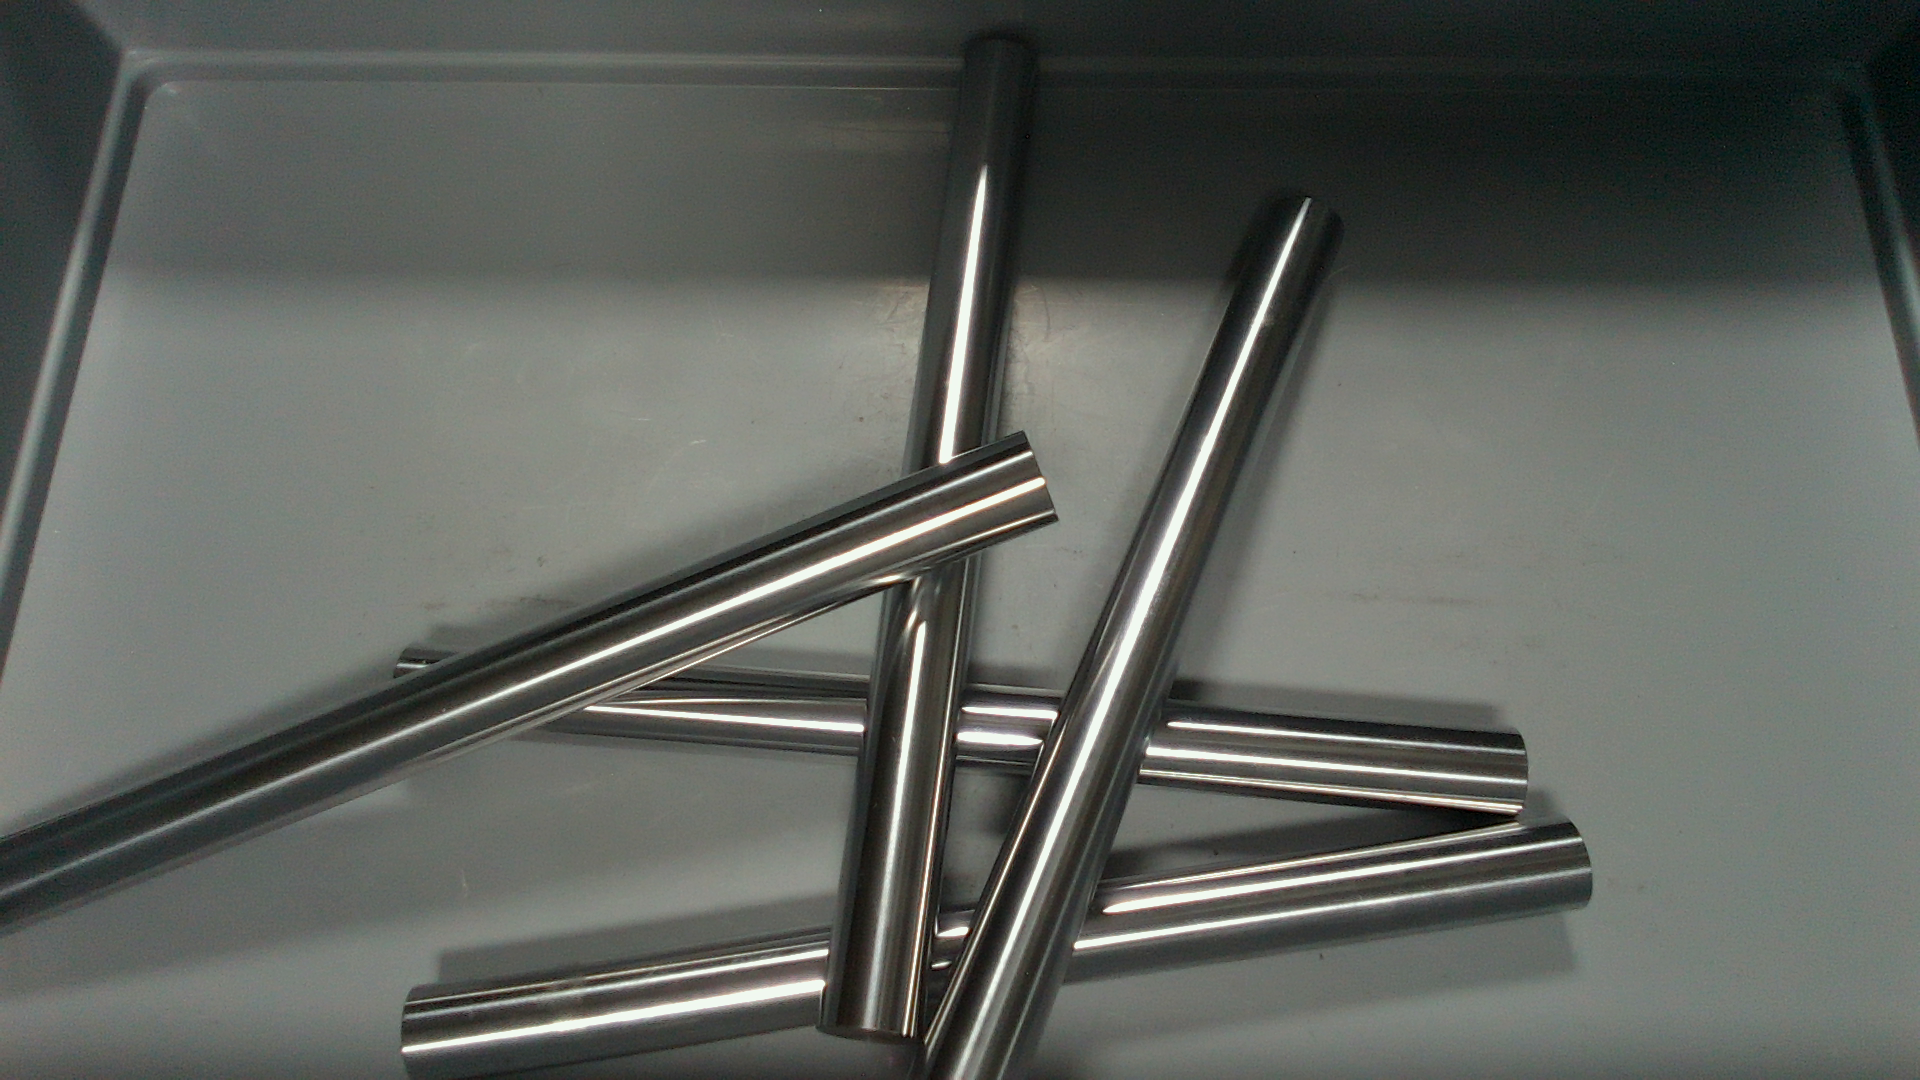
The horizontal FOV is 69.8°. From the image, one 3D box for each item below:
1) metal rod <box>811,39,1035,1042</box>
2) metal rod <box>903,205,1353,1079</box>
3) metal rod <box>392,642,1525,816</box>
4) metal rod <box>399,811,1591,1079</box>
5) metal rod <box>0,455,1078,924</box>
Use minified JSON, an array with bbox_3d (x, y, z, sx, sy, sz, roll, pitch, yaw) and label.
[{"bbox_3d":[-0.005,-0.020,0.382,0.025,0.025,0.300,6,64,2],"label":"metal rod"},{"bbox_3d":[0.049,0.025,0.363,0.025,0.025,0.301,23,64,8],"label":"metal rod"},{"bbox_3d":[-0.002,0.051,0.375,0.300,0.025,0.025,4,70,1],"label":"metal rod"},{"bbox_3d":[0.012,0.105,0.355,0.300,0.025,0.025,-8,70,-3],"label":"metal rod"},{"bbox_3d":[-0.115,0.040,0.352,0.300,0.025,0.025,-19,71,-1],"label":"metal rod"}]
